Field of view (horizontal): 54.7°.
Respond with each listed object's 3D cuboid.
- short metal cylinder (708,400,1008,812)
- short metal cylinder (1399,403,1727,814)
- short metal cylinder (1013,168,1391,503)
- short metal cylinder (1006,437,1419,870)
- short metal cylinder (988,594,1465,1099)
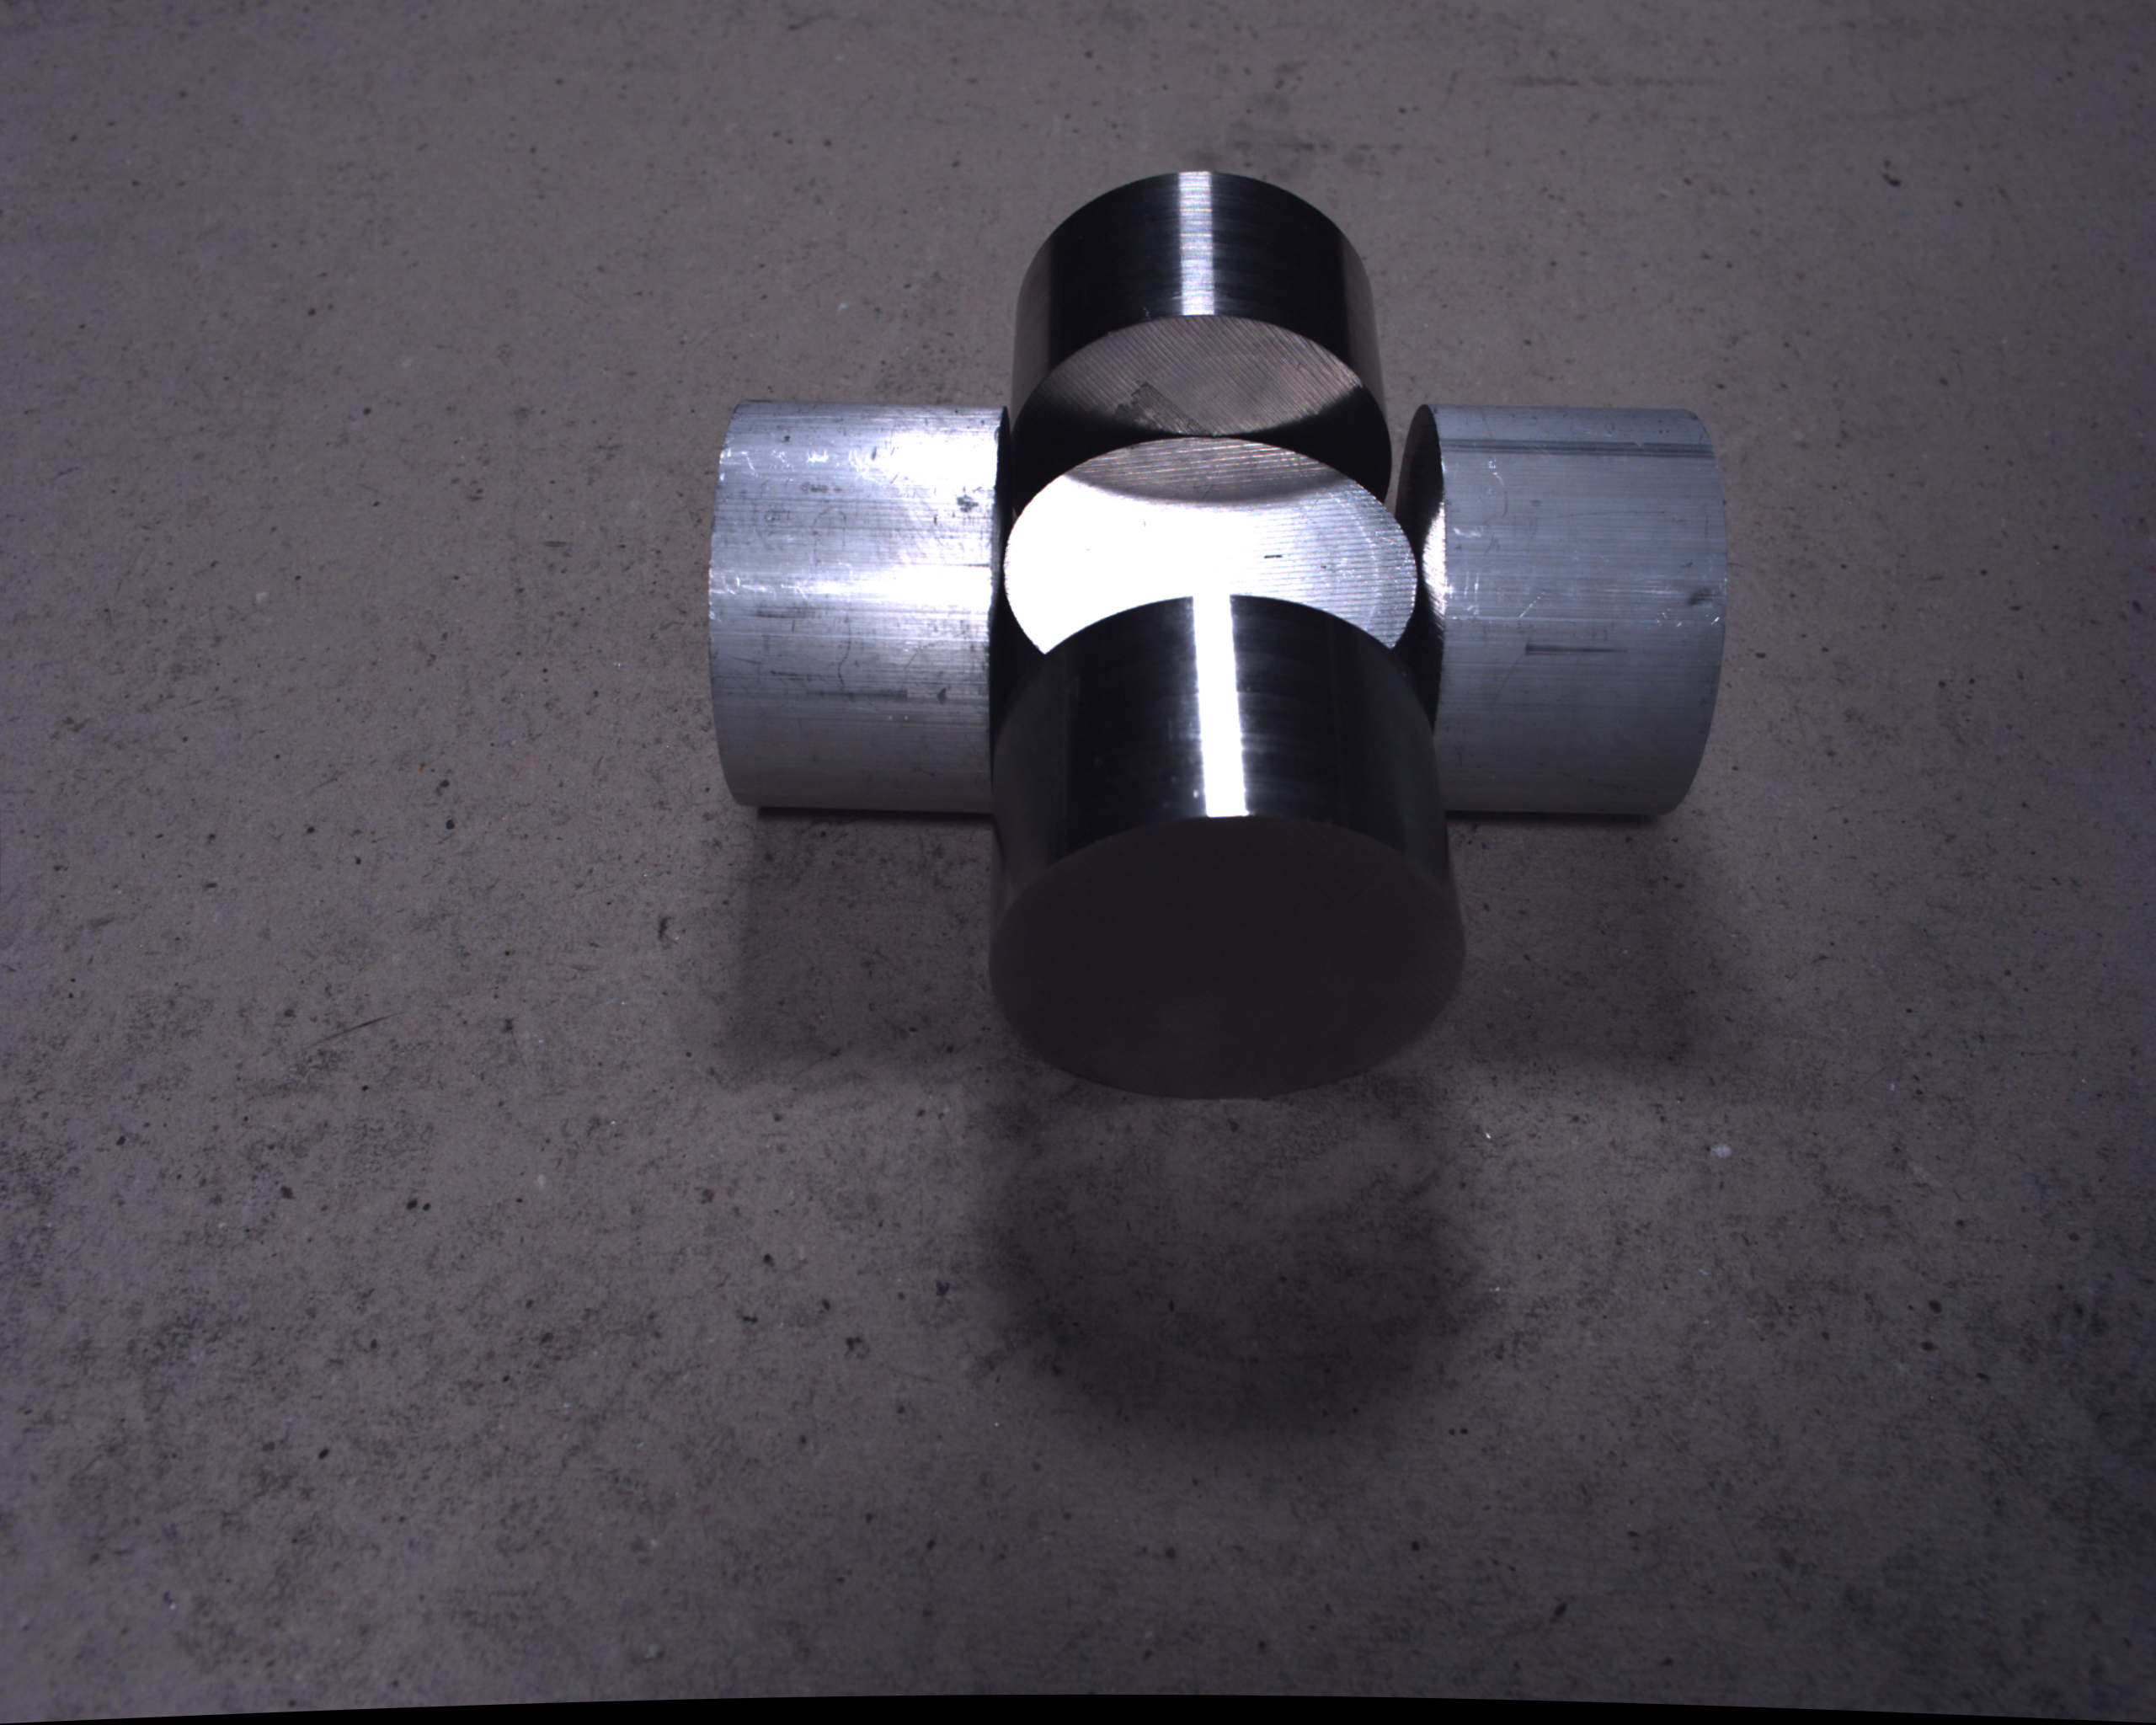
[{"bbox_3d":[-0.040,-0.050,0.411,0.050,0.080,0.080,1,50,1],"label":"short metal cylinder"},{"bbox_3d":[0.091,-0.050,0.412,0.050,0.080,0.080,1,50,1],"label":"short metal cylinder"},{"bbox_3d":[0.026,-0.102,0.454,0.081,0.080,0.050,1,51,0],"label":"short metal cylinder"},{"bbox_3d":[0.026,-0.041,0.424,0.081,0.050,0.080,0,50,0],"label":"short metal cylinder"},{"bbox_3d":[0.025,-0.001,0.370,0.081,0.080,0.050,0,50,0],"label":"short metal cylinder"}]
